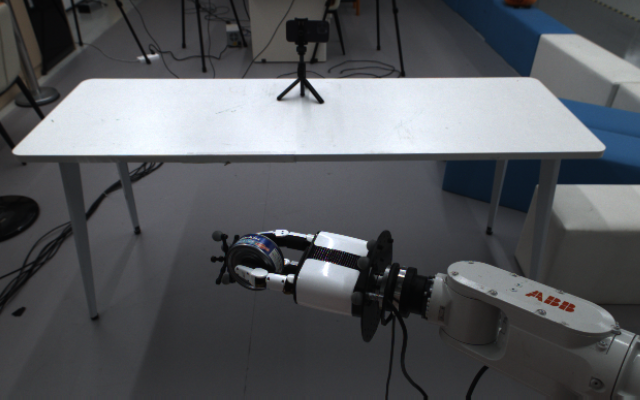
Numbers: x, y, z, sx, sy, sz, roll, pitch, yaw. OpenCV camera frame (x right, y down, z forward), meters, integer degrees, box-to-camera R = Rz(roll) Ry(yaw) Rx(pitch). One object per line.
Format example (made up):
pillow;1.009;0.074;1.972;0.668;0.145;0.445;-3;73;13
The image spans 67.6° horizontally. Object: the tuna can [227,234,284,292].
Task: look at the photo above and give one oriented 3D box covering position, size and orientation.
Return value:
tuna can;-0.097;0.094;0.741;0.085;0.085;0.034;12;28;14
